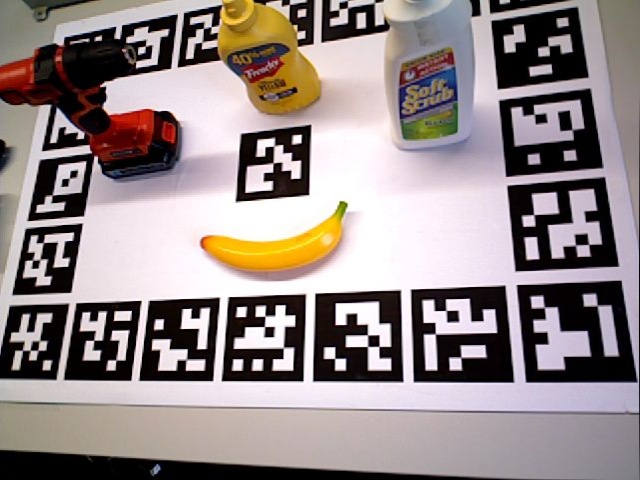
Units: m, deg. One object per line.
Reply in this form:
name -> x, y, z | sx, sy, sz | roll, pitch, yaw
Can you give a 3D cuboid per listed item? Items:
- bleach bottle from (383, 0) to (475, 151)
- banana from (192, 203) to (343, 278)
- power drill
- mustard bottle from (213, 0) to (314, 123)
bleach bottle -> 0.102, -0.178, 0.548 | 0.103, 0.252, 0.067 | 4, 73, 16
banana -> -0.064, 0.009, 0.646 | 0.198, 0.039, 0.074 | -10, 72, 17
power drill -> -0.264, -0.168, 0.657 | 0.186, 0.187, 0.057 | -11, 69, 17
mustard bottle -> -0.073, -0.215, 0.648 | 0.096, 0.192, 0.058 | -11, 69, 10
